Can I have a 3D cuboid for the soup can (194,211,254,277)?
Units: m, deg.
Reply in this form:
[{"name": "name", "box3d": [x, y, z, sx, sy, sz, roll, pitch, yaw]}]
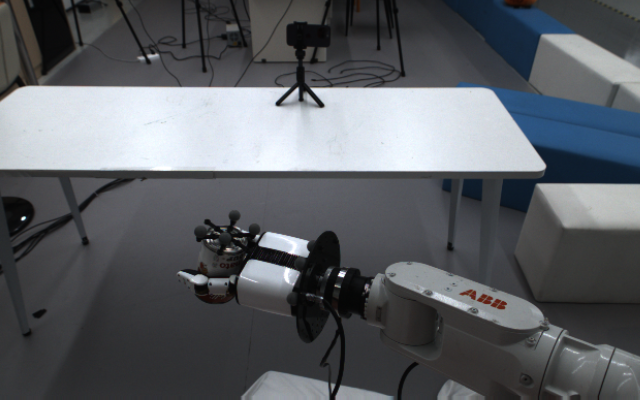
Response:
[{"name": "soup can", "box3d": [-0.150, 0.098, 0.726, 0.067, 0.101, 0.067, 14, 31, -8]}]
